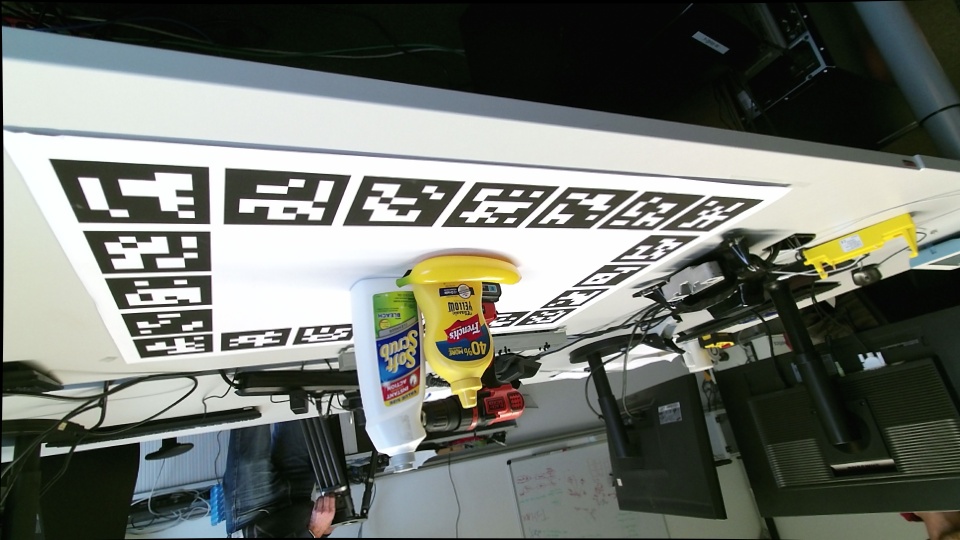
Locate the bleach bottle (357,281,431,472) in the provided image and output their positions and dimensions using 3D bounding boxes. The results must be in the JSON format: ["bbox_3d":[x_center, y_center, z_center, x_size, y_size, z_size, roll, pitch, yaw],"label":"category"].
[{"bbox_3d":[-0.106,0.142,0.732,0.103,0.249,0.068,-1,160,-29],"label":"bleach bottle"}]

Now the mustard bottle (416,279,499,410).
[{"bbox_3d":[-0.025,0.093,0.726,0.096,0.190,0.058,-1,154,-27],"label":"mustard bottle"}]

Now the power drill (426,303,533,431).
[{"bbox_3d":[-0.012,0.141,0.794,0.185,0.186,0.057,6,152,-37],"label":"power drill"}]

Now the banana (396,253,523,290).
[{"bbox_3d":[-0.013,0.003,0.744,0.198,0.038,0.074,-1,154,-32],"label":"banana"}]
